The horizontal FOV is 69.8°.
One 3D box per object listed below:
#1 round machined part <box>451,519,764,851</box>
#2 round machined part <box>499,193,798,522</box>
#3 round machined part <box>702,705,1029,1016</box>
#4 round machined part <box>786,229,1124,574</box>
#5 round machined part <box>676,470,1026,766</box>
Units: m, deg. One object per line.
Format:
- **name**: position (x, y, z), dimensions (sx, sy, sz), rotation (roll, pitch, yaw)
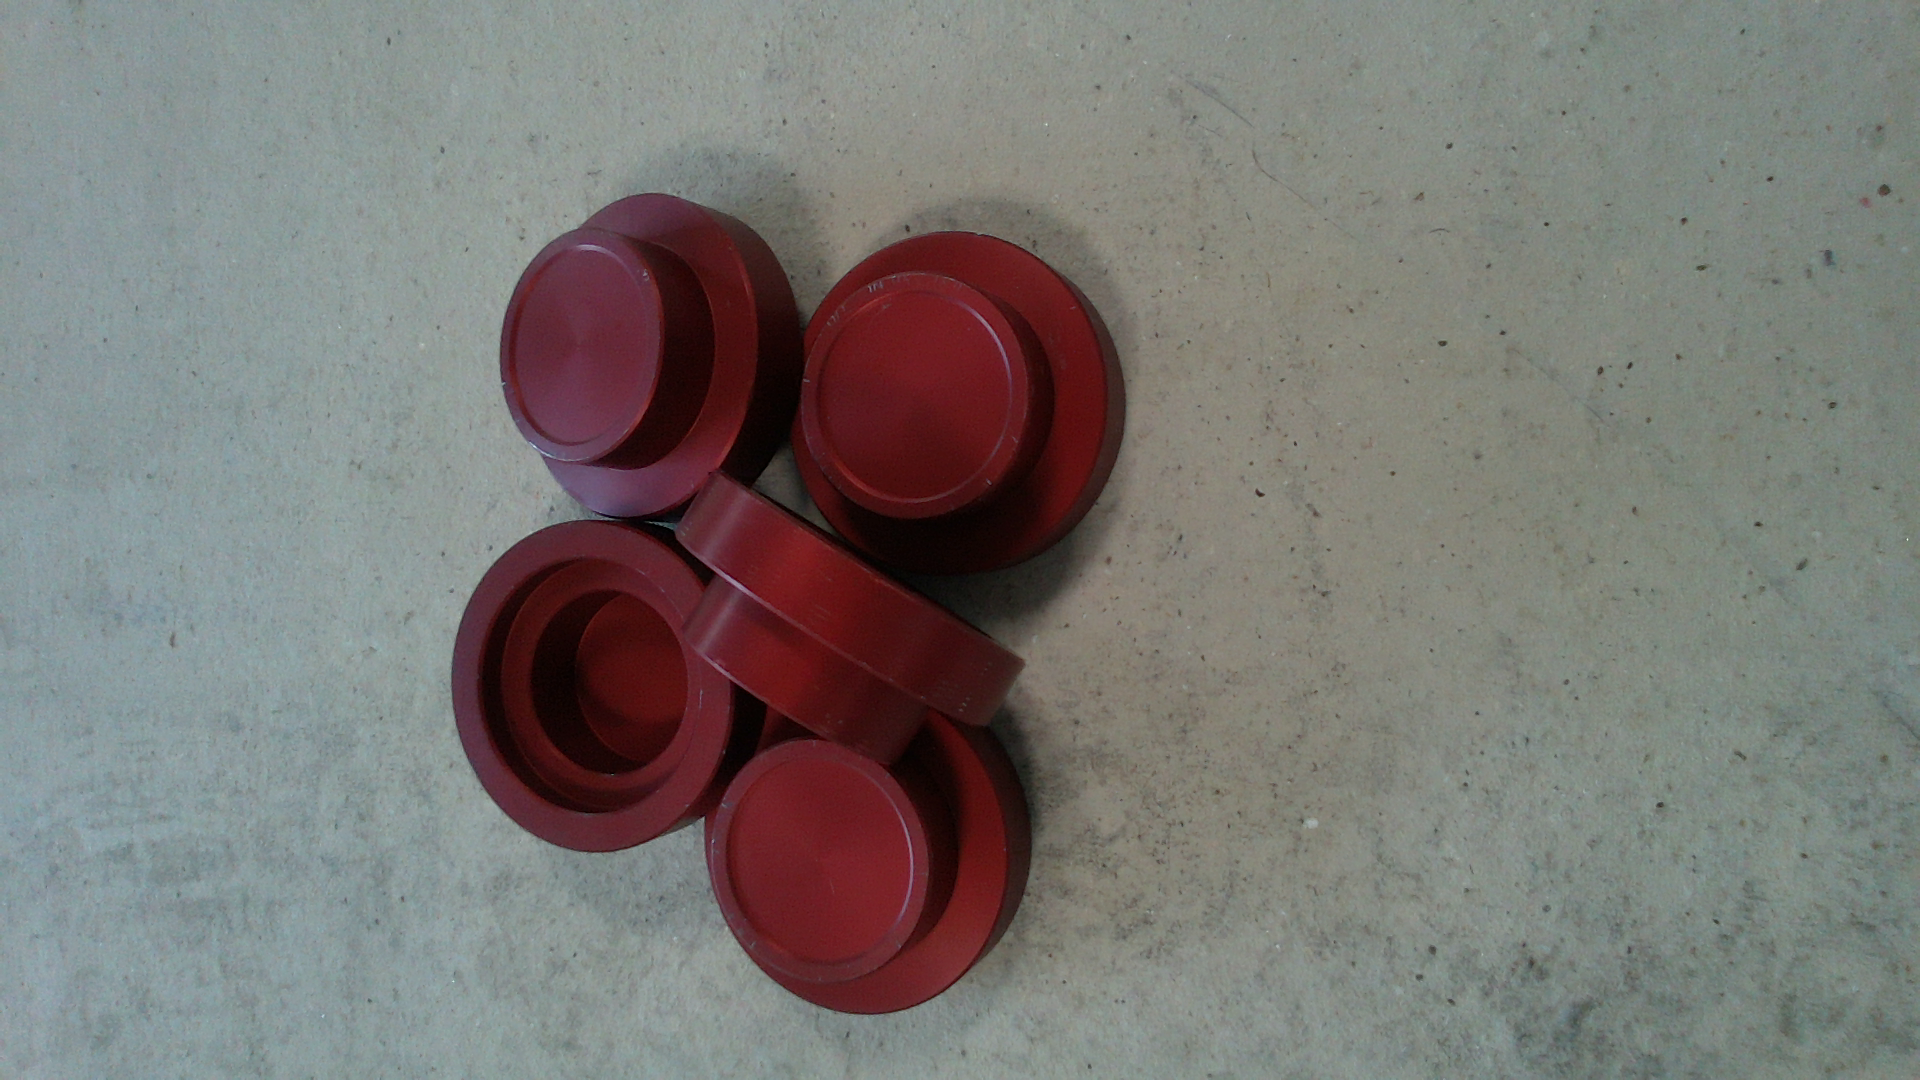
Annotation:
- **round machined part**: position (-0.103, 0.042, 0.424), dimensions (0.098, 0.042, 0.098), rotation (1, 92, 20)
- **round machined part**: position (-0.099, -0.055, 0.411), dimensions (0.098, 0.042, 0.098), rotation (-1, 87, 33)
- **round machined part**: position (-0.032, 0.089, 0.399), dimensions (0.098, 0.042, 0.098), rotation (-1, 88, 19)
- **round machined part**: position (-0.006, -0.039, 0.389), dimensions (0.098, 0.042, 0.098), rotation (0, 89, 19)
- **round machined part**: position (-0.034, 0.025, 0.367), dimensions (0.098, 0.098, 0.042), rotation (31, 87, 17)
